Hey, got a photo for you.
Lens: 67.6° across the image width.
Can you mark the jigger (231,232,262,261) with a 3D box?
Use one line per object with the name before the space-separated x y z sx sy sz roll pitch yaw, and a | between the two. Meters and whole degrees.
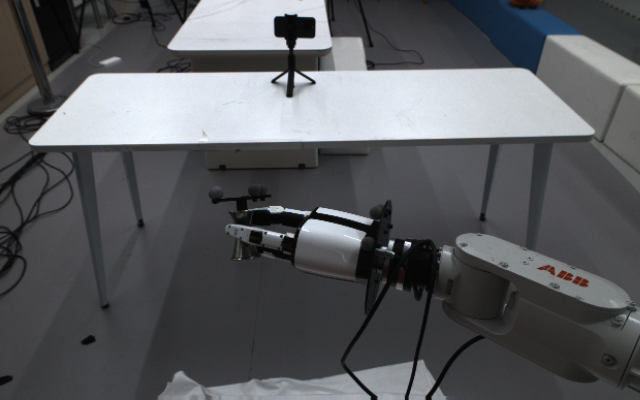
jigger | -0.108 0.049 0.688 0.043 0.071 0.043 -4 1 0
